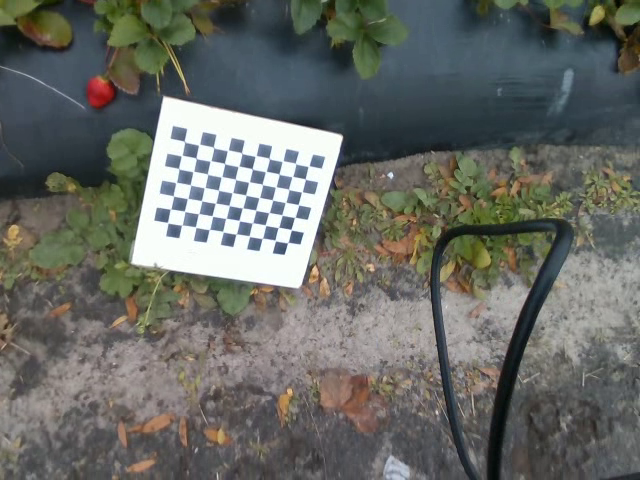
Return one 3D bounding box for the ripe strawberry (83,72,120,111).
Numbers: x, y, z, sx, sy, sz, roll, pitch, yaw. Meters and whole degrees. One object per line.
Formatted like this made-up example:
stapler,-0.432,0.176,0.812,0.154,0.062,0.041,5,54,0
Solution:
ripe strawberry,-0.217,-0.143,0.691,0.028,0.033,0.023,26,9,-18
